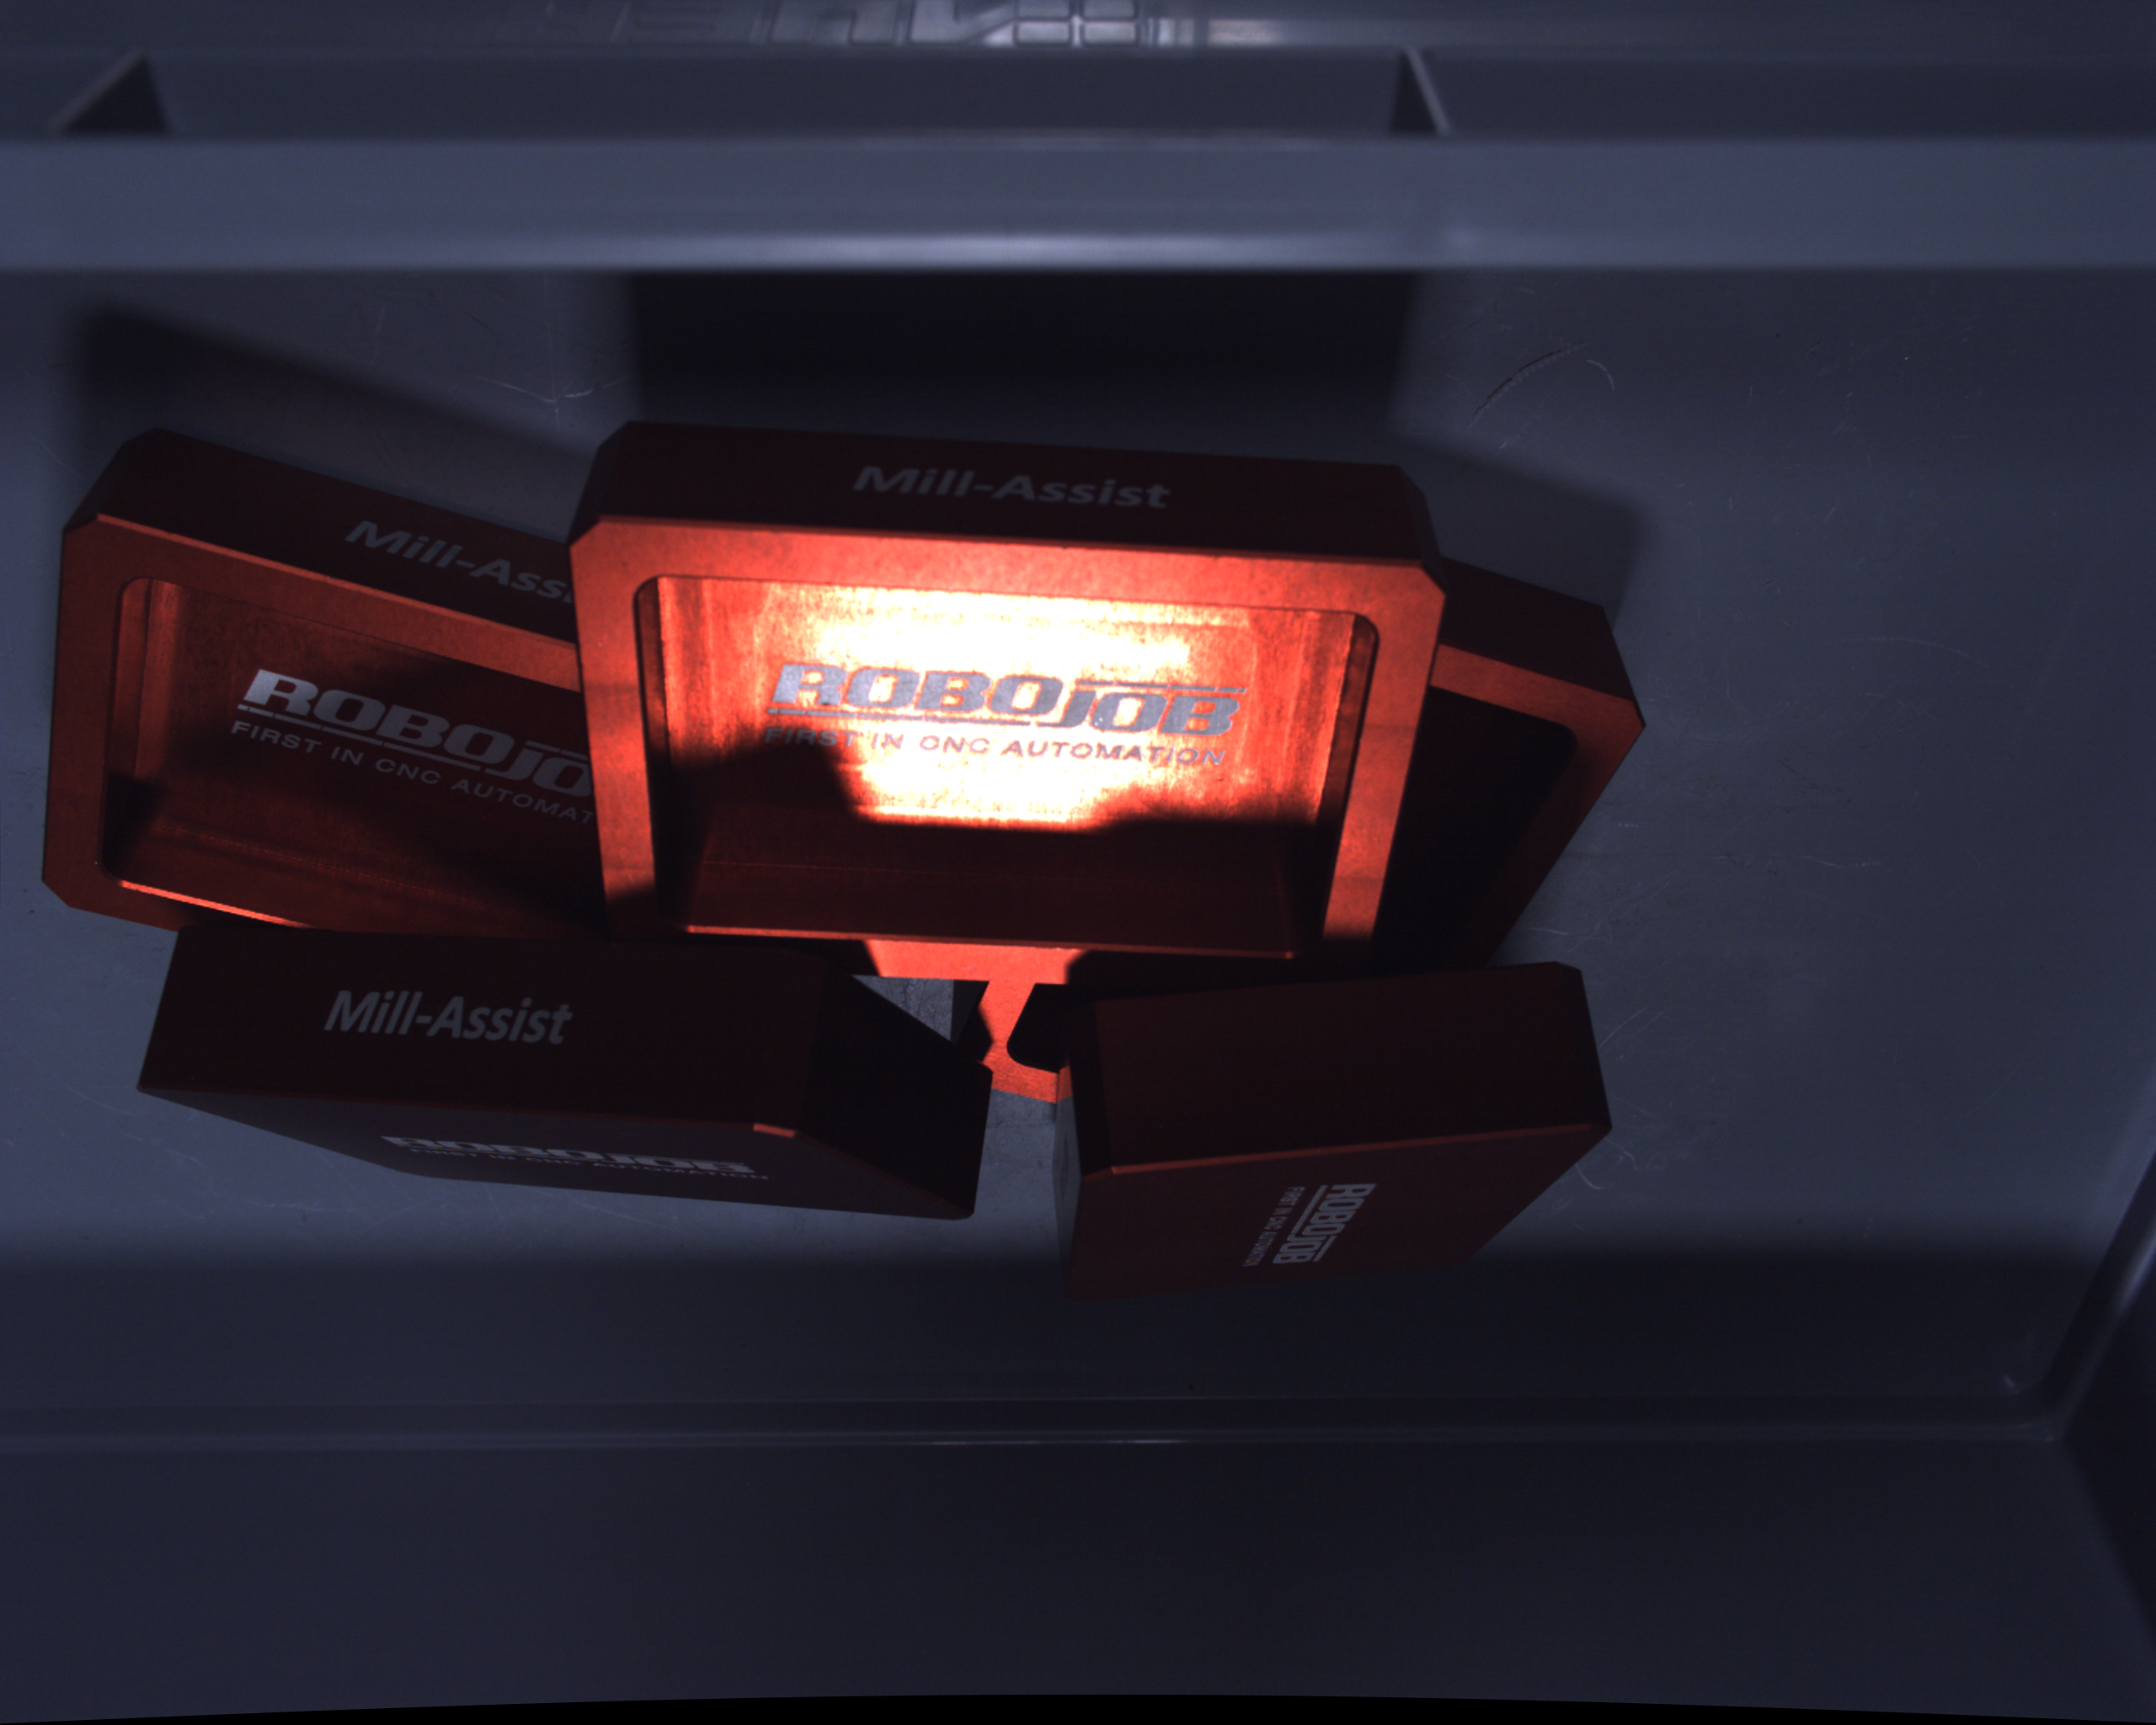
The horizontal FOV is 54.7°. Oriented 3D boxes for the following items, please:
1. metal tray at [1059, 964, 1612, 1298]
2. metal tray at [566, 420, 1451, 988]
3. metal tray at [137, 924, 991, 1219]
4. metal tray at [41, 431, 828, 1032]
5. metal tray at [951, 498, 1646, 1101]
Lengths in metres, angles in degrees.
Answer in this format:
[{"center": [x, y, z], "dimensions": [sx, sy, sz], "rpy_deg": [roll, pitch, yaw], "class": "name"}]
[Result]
[{"center": [0.042, 0.058, 0.411], "dimensions": [0.091, 0.030, 0.130], "rpy_deg": [-5, 159, -4], "class": "metal tray"}, {"center": [-0.012, -0.023, 0.344], "dimensions": [0.131, 0.030, 0.089], "rpy_deg": [3, 130, -3], "class": "metal tray"}, {"center": [-0.093, 0.041, 0.392], "dimensions": [0.130, 0.030, 0.090], "rpy_deg": [1, 162, 19], "class": "metal tray"}, {"center": [-0.116, -0.017, 0.385], "dimensions": [0.131, 0.030, 0.089], "rpy_deg": [15, 129, -13], "class": "metal tray"}, {"center": [0.037, -0.001, 0.403], "dimensions": [0.091, 0.030, 0.129], "rpy_deg": [15, 129, -13], "class": "metal tray"}]
